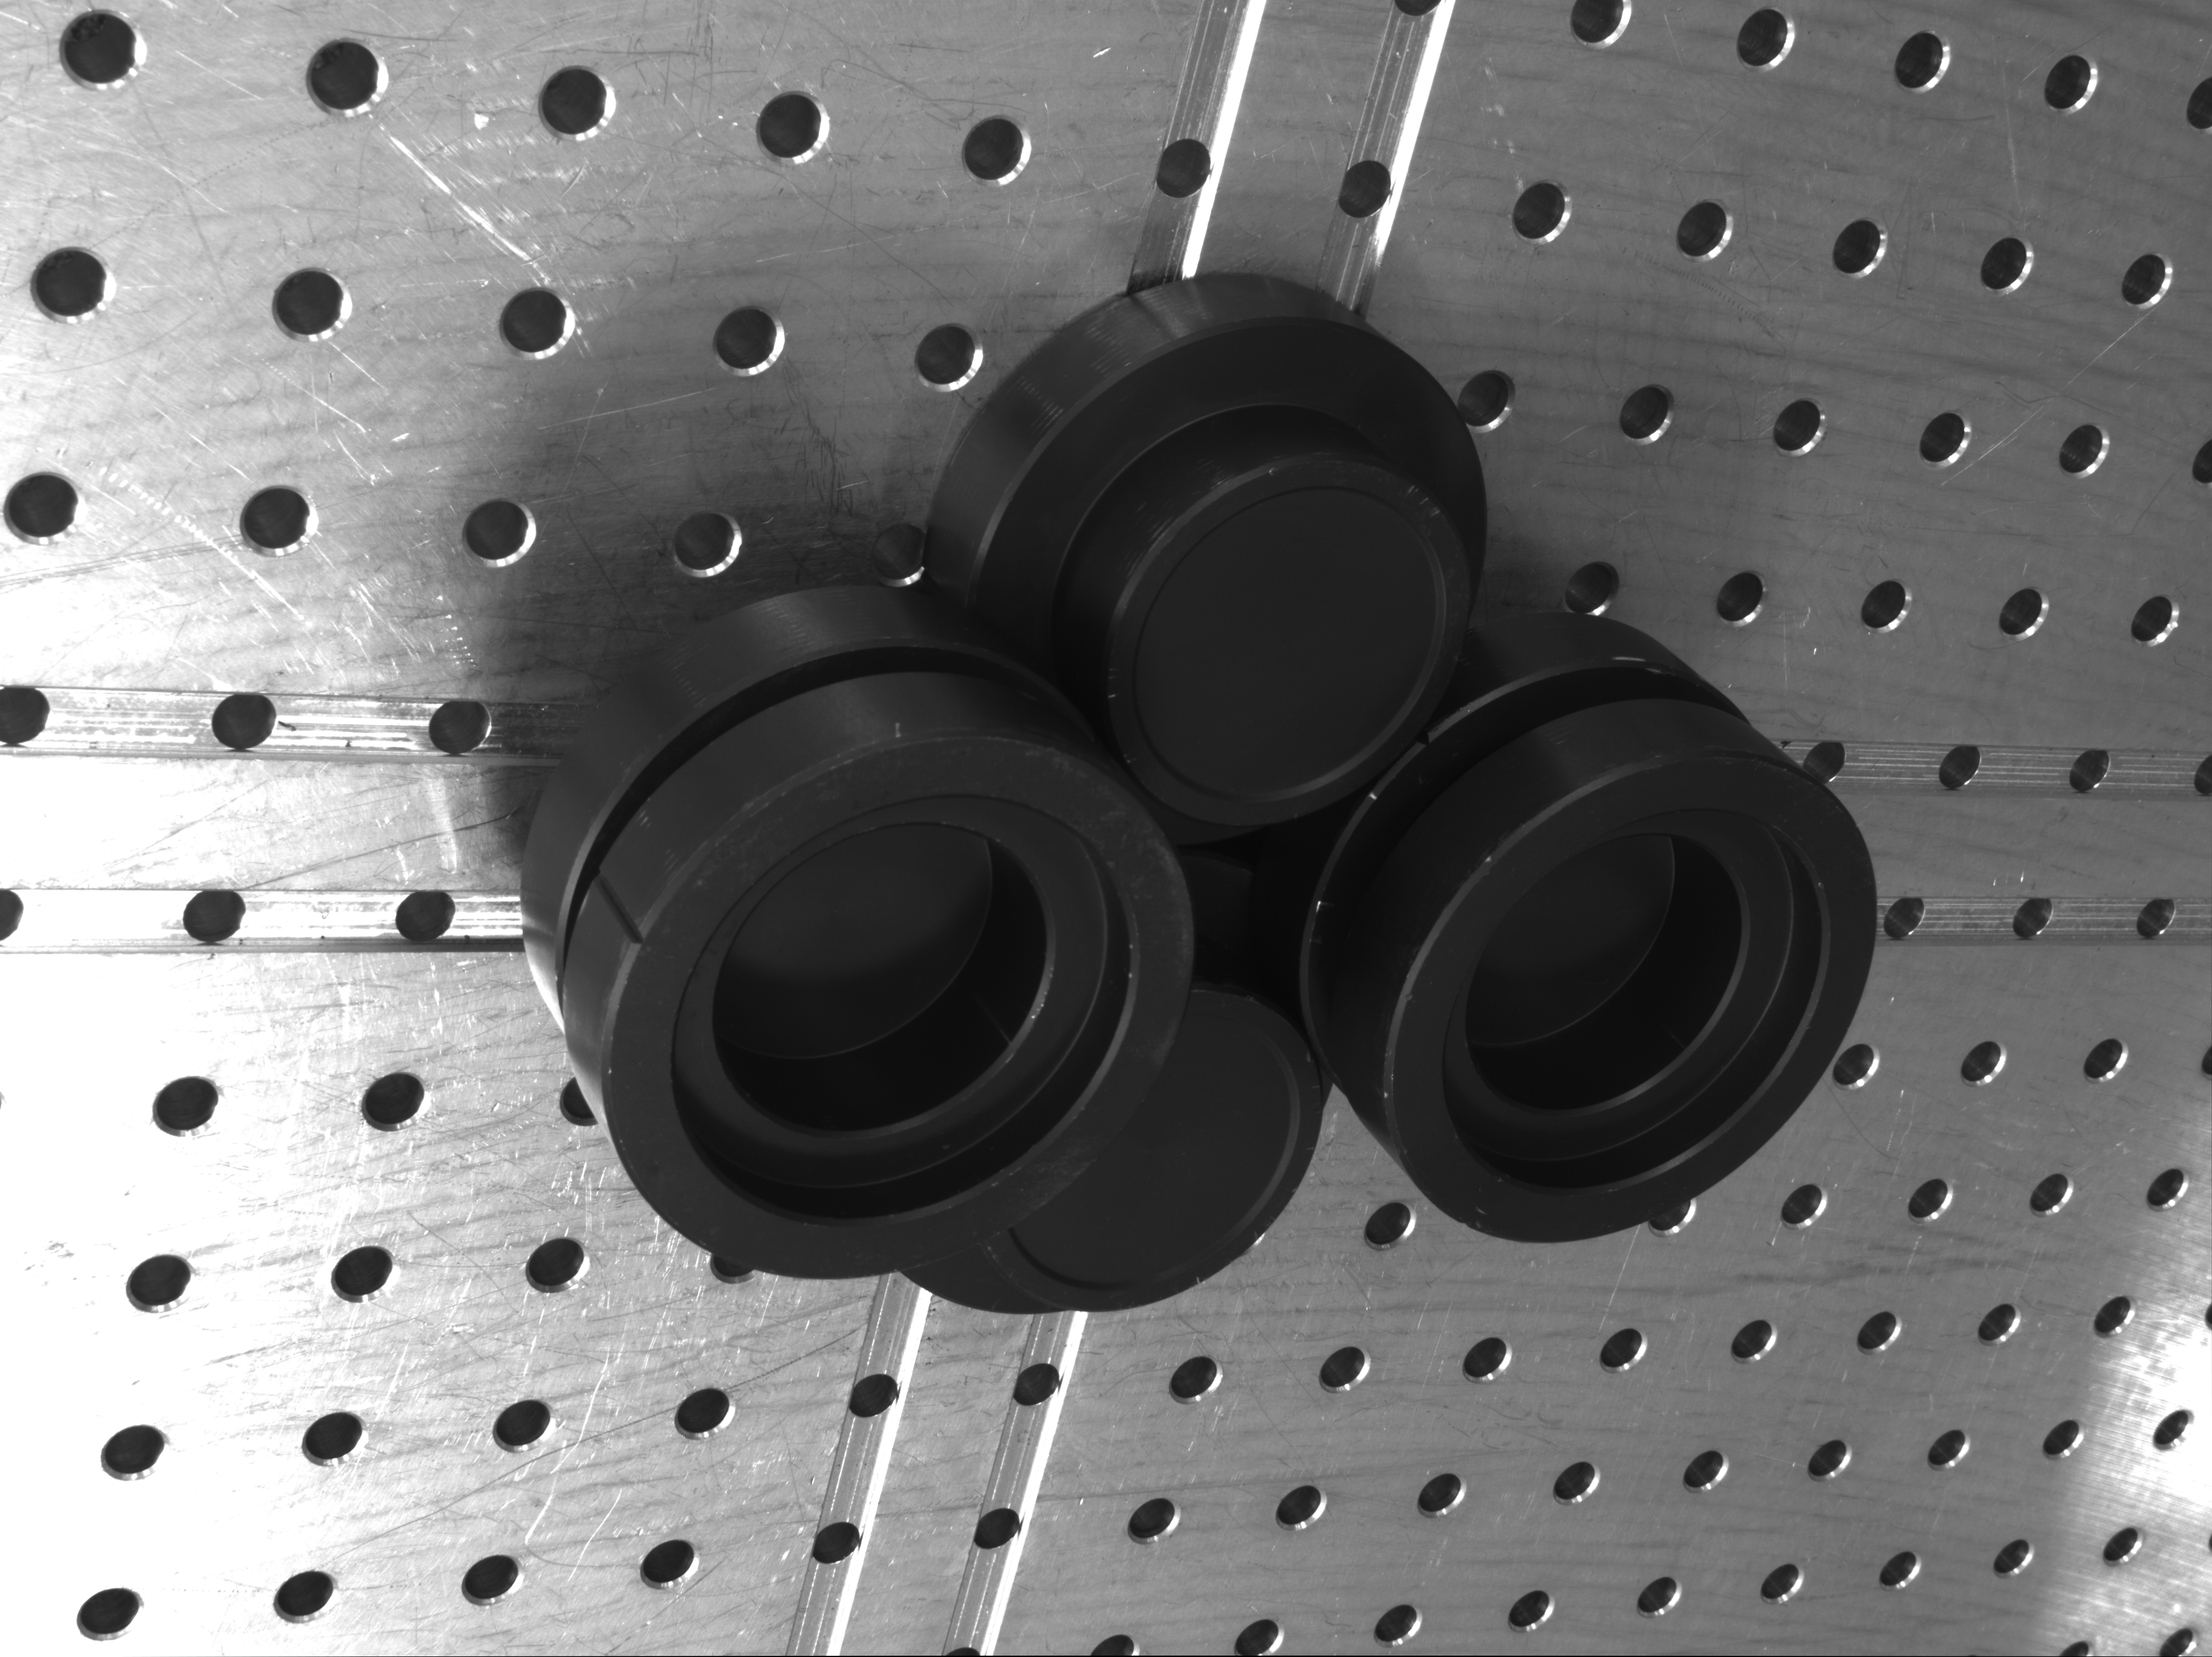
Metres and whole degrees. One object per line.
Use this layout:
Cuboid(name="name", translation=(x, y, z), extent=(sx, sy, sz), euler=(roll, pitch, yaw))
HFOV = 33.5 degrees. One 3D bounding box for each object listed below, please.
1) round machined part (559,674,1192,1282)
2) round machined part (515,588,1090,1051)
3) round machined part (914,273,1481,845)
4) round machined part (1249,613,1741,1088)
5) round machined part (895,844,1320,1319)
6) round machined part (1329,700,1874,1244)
Cuboid(name="round machined part", translation=(-0.039, 0.019, 0.579), extent=(0.098, 0.042, 0.098), euler=(-13, 124, -21))
Cuboid(name="round machined part", translation=(-0.050, 0.004, 0.605), extent=(0.098, 0.042, 0.098), euler=(-13, 124, -21))
Cuboid(name="round machined part", translation=(0.021, -0.040, 0.616), extent=(0.098, 0.042, 0.098), euler=(-13, 124, -21))
Cuboid(name="round machined part", translation=(0.070, 0.005, 0.669), extent=(0.098, 0.042, 0.098), euler=(-13, 124, -21))
Cuboid(name="round machined part", translation=(-0.001, 0.048, 0.657), extent=(0.098, 0.042, 0.098), euler=(-13, 124, -21))
Cuboid(name="round machined part", translation=(0.082, 0.021, 0.645), extent=(0.098, 0.042, 0.098), euler=(-13, 124, -21))
